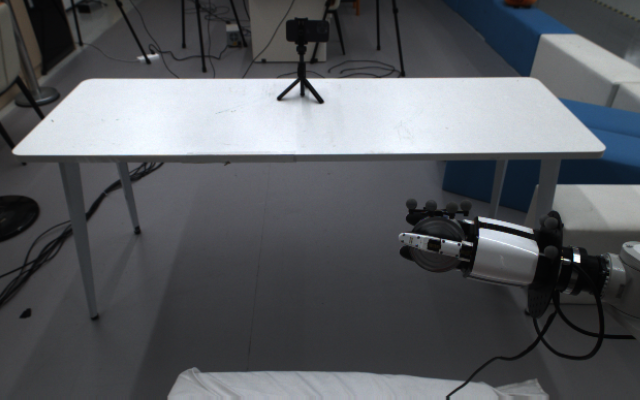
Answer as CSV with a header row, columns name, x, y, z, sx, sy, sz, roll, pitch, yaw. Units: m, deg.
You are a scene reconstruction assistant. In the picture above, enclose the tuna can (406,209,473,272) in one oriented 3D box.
name,x,y,z,sx,sy,sz,roll,pitch,yaw
tuna can,0.181,0.064,0.735,0.085,0.085,0.034,13,7,15
